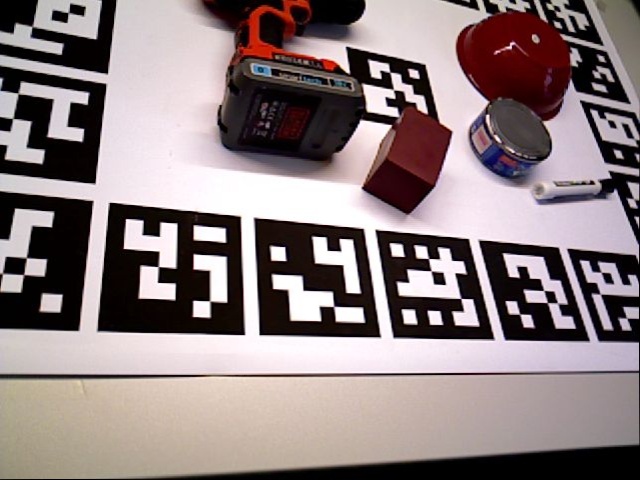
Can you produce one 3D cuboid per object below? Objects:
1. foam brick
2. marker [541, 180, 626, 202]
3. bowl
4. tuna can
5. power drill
[{"bbox_3d":[0.086,-0.066,0.506,0.051,0.054,0.076,26,58,-10],"label":"foam brick"},{"bbox_3d":[0.293,-0.055,0.598,0.119,0.020,0.019,-5,67,-26],"label":"marker"},{"bbox_3d":[0.241,-0.221,0.656,0.160,0.056,0.159,9,54,-14],"label":"bowl"},{"bbox_3d":[0.211,-0.110,0.584,0.085,0.034,0.084,11,60,-20],"label":"tuna can"},{"bbox_3d":[-0.032,-0.176,0.508,0.182,0.059,0.185,4,60,-25],"label":"power drill"}]
